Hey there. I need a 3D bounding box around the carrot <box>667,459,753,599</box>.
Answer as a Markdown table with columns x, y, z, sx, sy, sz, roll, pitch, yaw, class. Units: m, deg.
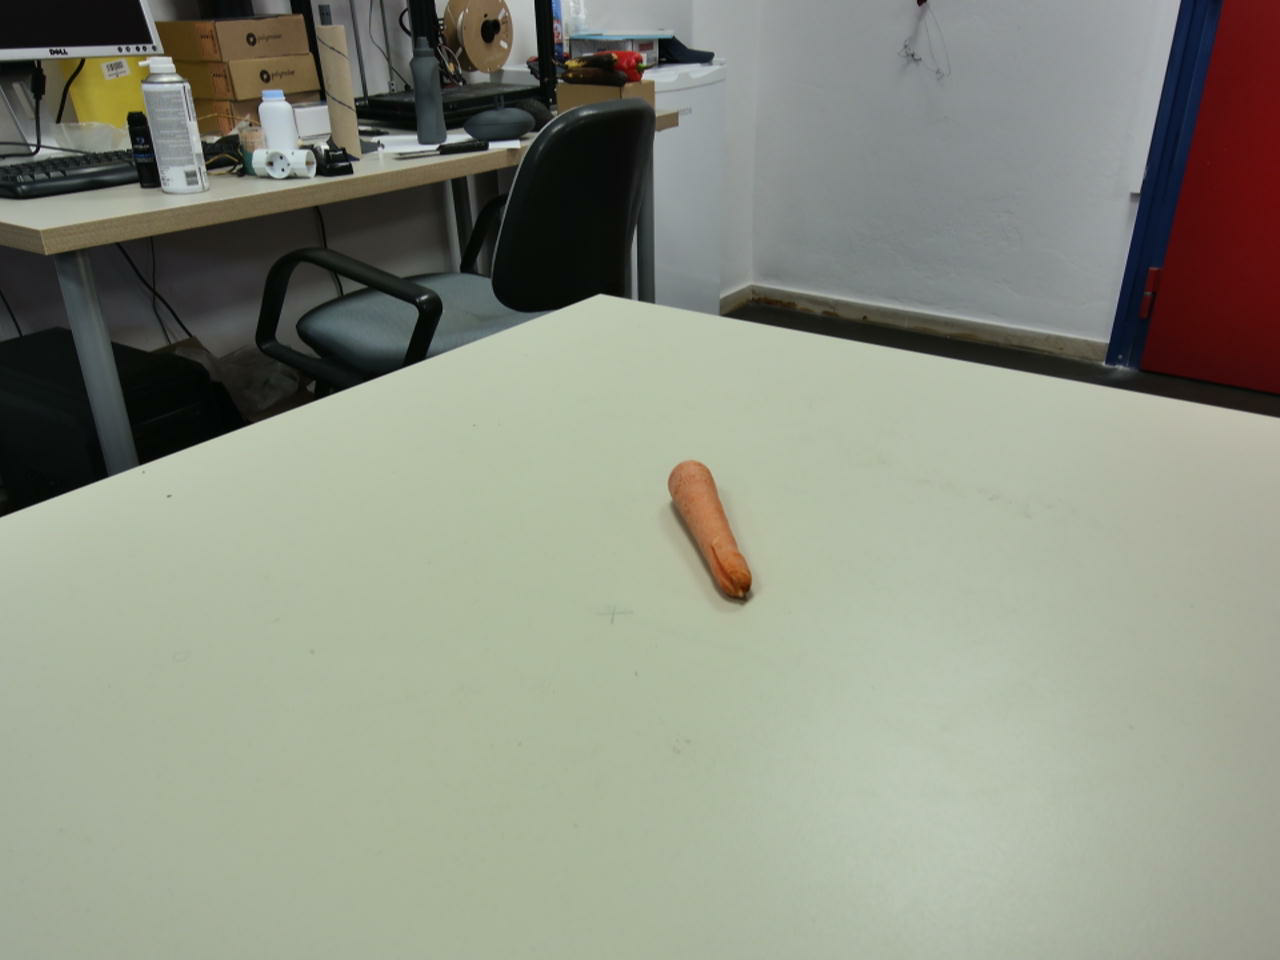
| x | y | z | sx | sy | sz | roll | pitch | yaw | class |
| --- | --- | --- | --- | --- | --- | --- | --- | --- | --- |
| 0.039 | 0.024 | 0.578 | 0.030 | 0.032 | 0.136 | -4 | 24 | -8 | carrot |
